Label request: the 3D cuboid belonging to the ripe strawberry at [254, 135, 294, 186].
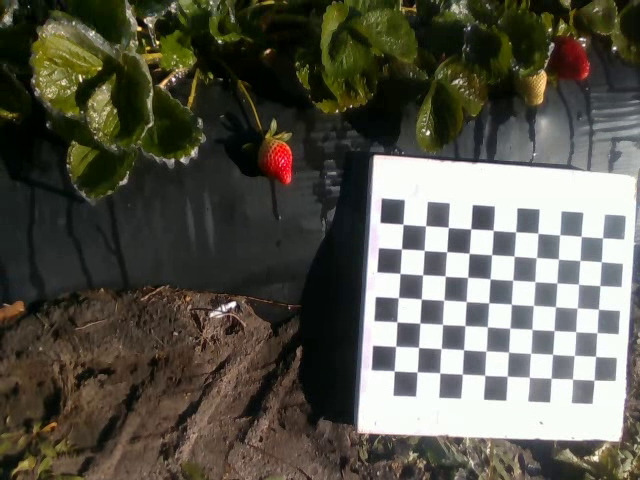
[{"bbox_3d":[-0.039,-0.075,0.602,0.039,0.053,0.041,-19,-15,-8],"label":"ripe strawberry"}]
